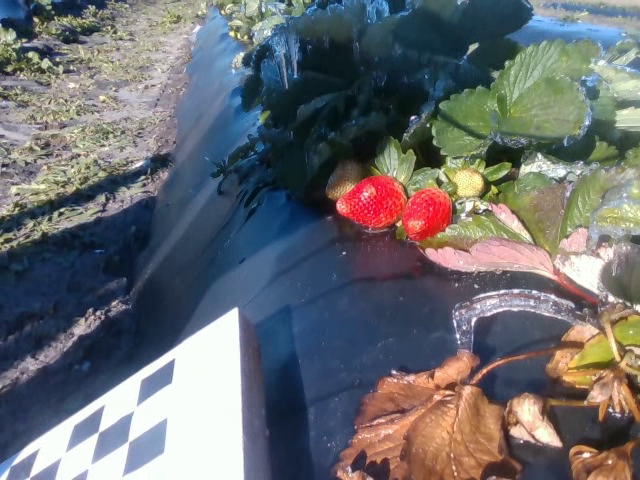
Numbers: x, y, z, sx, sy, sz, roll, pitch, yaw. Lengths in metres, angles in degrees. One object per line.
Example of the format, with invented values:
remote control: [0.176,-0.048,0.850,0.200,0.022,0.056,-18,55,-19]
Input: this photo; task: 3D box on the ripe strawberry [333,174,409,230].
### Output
ripe strawberry: [0.029,-0.022,0.383,0.051,0.040,0.036,-10,6,-39]

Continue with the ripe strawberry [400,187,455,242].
ripe strawberry: [0.065,-0.015,0.366,0.036,0.030,0.041,-21,25,32]
